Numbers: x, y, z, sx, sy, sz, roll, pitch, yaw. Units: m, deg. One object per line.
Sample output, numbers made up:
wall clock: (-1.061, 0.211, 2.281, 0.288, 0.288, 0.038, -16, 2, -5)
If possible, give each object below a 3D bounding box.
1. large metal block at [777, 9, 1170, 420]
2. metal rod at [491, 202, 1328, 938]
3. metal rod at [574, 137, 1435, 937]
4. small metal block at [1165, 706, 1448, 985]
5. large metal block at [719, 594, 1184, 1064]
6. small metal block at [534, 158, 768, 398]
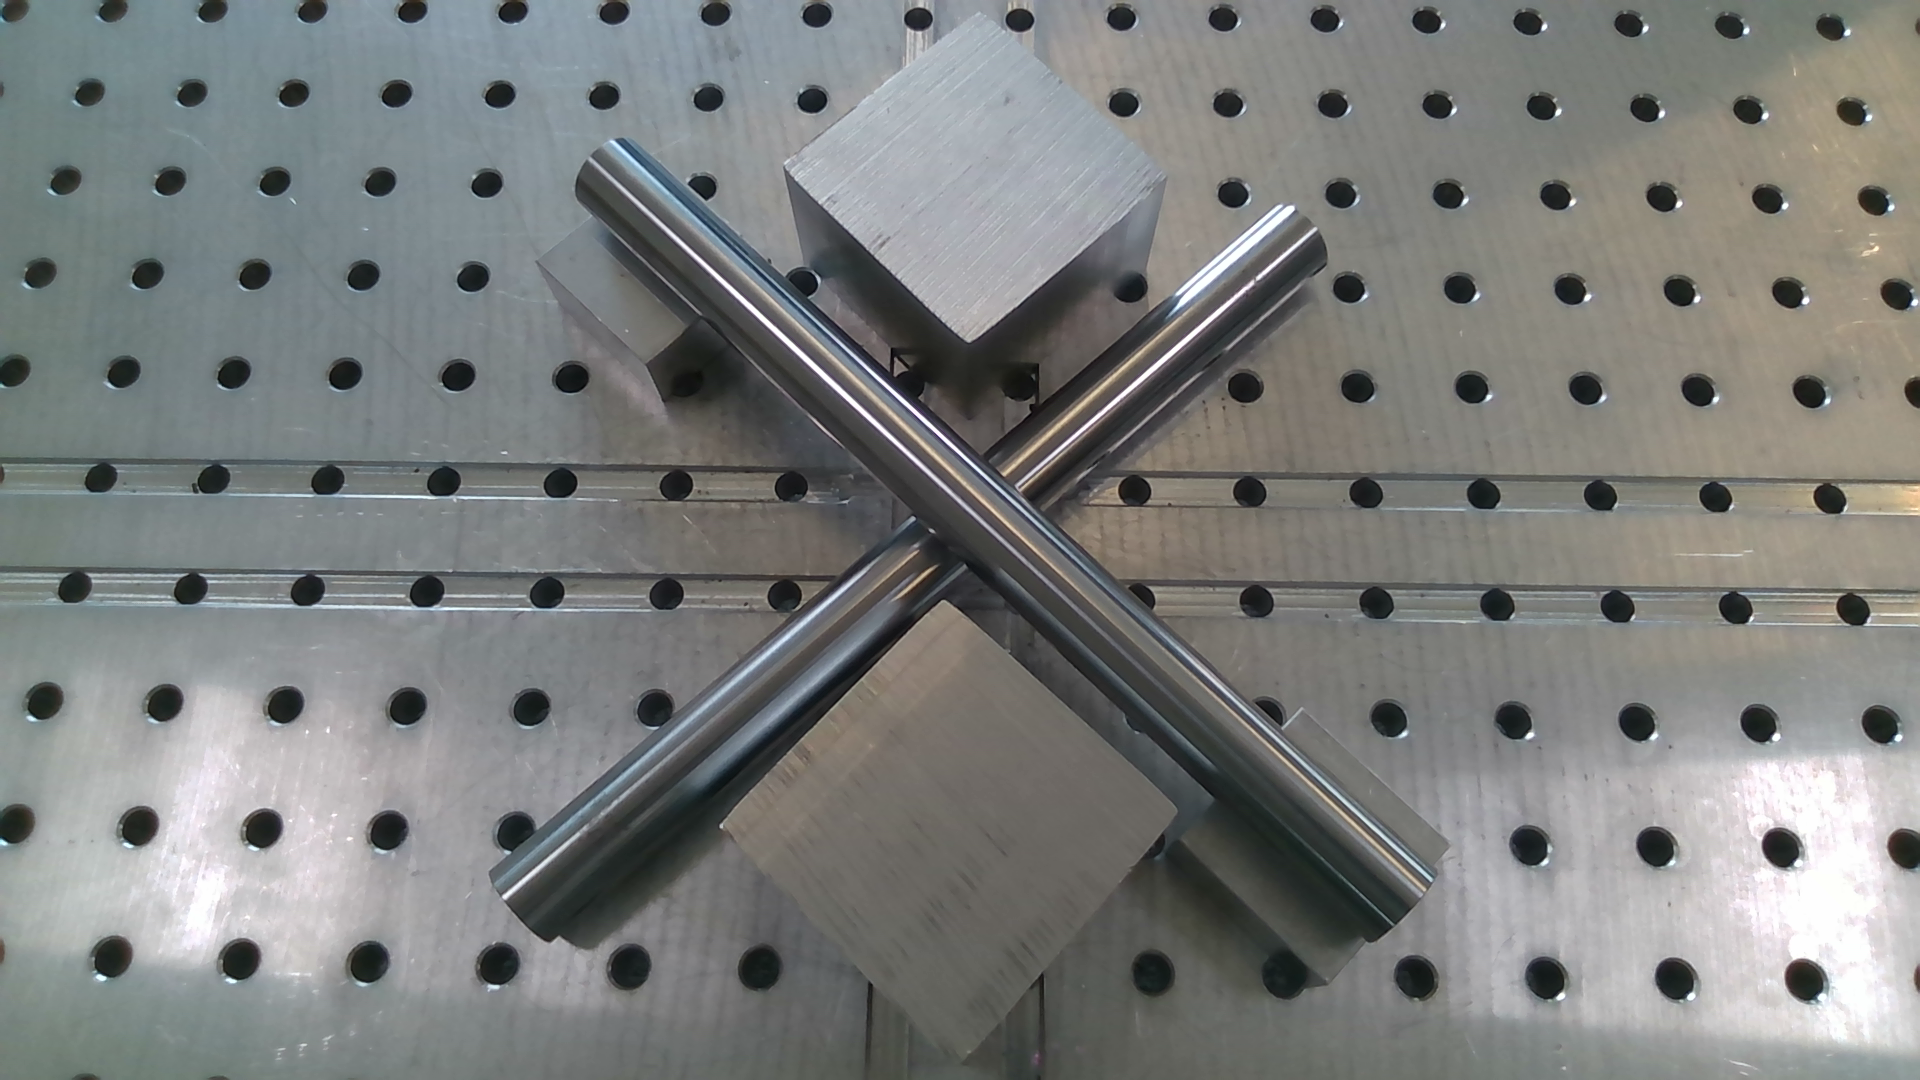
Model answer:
large metal block: (0.004, -0.099, 0.420, 0.080, 0.050, 0.080, -42, 75, -13)
metal rod: (-0.005, 0.000, 0.397, 0.300, 0.025, 0.025, -41, 75, -13)
metal rod: (0.002, -0.010, 0.375, 0.300, 0.025, 0.025, 43, 76, 14)
small metal block: (0.092, 0.082, 0.370, 0.050, 0.025, 0.050, -43, 76, -14)
large metal block: (-0.002, 0.076, 0.358, 0.080, 0.050, 0.080, 41, 75, 13)
small metal block: (-0.093, -0.081, 0.427, 0.050, 0.025, 0.050, 43, 76, 14)
